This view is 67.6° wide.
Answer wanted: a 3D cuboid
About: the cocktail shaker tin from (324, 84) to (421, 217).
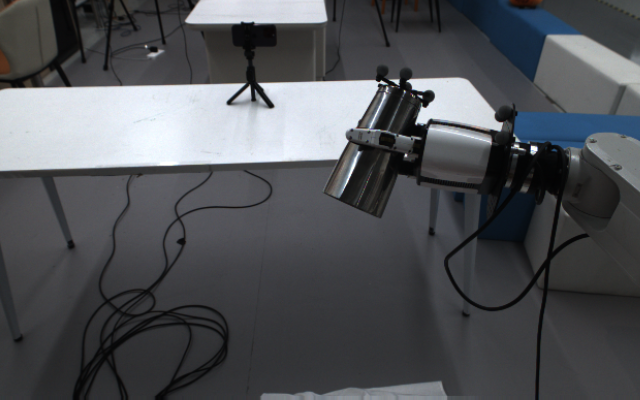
[{"bbox_3d":[0.081,-0.074,0.682,0.093,0.170,0.093,23,0,0],"label":"cocktail shaker tin"}]
